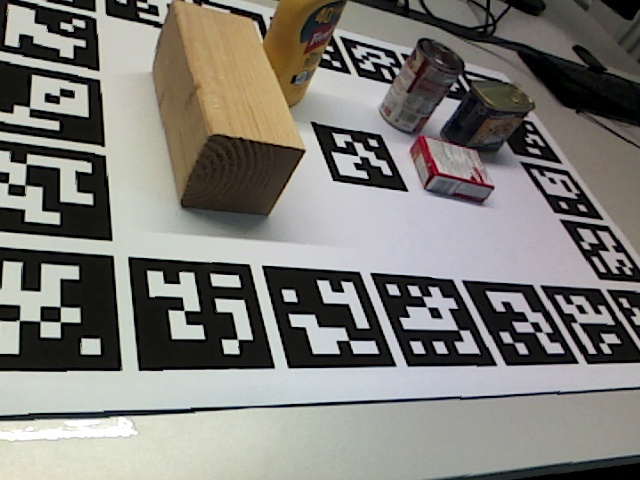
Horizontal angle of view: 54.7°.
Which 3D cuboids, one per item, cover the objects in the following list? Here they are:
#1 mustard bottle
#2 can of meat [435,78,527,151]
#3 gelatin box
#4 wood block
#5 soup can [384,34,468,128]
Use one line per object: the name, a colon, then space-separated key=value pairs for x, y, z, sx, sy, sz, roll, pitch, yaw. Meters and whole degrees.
mustard bottle: x=-0.019 y=-0.232 z=0.685 sx=0.096 sy=0.192 sz=0.059 roll=-21 pitch=62 yaw=-45
can of meat: x=0.218 y=-0.168 z=0.847 sx=0.101 sy=0.084 sz=0.058 roll=-7 pitch=54 yaw=-40
gelatin box: x=0.168 y=-0.088 z=0.767 sx=0.089 sy=0.030 sz=0.073 roll=11 pitch=46 yaw=-20
wood block: x=-0.095 y=-0.130 z=0.605 sx=0.090 sy=0.090 sz=0.207 roll=6 pitch=42 yaw=-29
soup can: x=0.135 y=-0.204 z=0.802 sx=0.067 sy=0.102 sz=0.068 roll=17 pitch=44 yaw=-17
